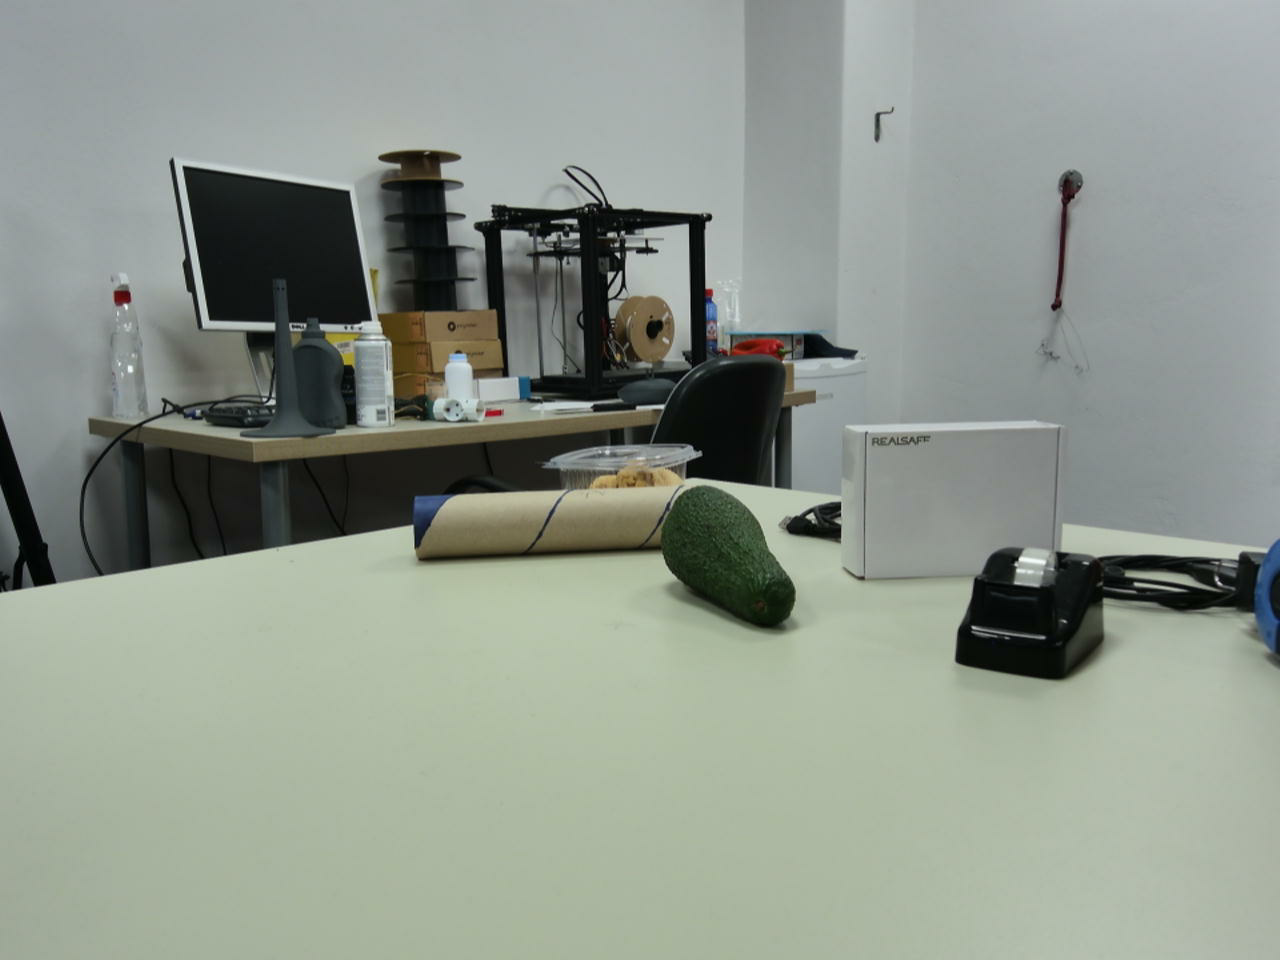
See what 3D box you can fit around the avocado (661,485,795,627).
[{"bbox_3d":[0.059,0.041,0.608,0.063,0.067,0.141,-3,7,-28],"label":"avocado"}]
